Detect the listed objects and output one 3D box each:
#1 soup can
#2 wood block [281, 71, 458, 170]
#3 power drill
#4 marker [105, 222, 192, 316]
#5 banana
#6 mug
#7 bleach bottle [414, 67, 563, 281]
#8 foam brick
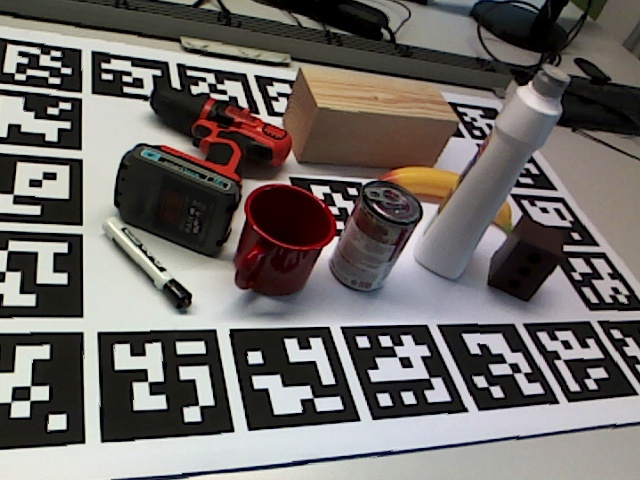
[{"bbox_3d":[0.056,-0.007,0.647,0.068,0.102,0.068,14,37,-11],"label":"soup can"},{"bbox_3d":[0.064,-0.156,0.832,0.205,0.091,0.090,1,47,-24],"label":"wood block"},{"bbox_3d":[-0.134,-0.089,0.699,0.184,0.057,0.187,24,39,-4],"label":"power drill"},{"bbox_3d":[-0.162,0.027,0.586,0.121,0.019,0.019,43,47,21],"label":"marker"},{"bbox_3d":[0.155,-0.075,0.820,0.197,0.039,0.074,15,55,-13],"label":"banana"},{"bbox_3d":[-0.047,0.004,0.611,0.093,0.081,0.117,33,44,7],"label":"mug"},{"bbox_3d":[0.182,-0.073,0.672,0.068,0.251,0.102,22,39,-1],"label":"bleach bottle"},{"bbox_3d":[0.239,0.023,0.730,0.053,0.078,0.051,24,38,3],"label":"foam brick"}]
